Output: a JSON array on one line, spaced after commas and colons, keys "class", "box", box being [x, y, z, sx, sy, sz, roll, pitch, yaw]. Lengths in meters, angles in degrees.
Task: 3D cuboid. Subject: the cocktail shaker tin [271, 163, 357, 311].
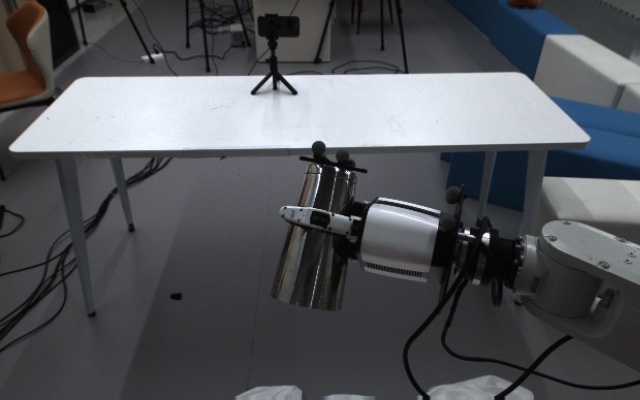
[{"class": "cocktail shaker tin", "box": [0.000, 0.046, 0.614, 0.093, 0.170, 0.093, 12, -5, 1]}]
